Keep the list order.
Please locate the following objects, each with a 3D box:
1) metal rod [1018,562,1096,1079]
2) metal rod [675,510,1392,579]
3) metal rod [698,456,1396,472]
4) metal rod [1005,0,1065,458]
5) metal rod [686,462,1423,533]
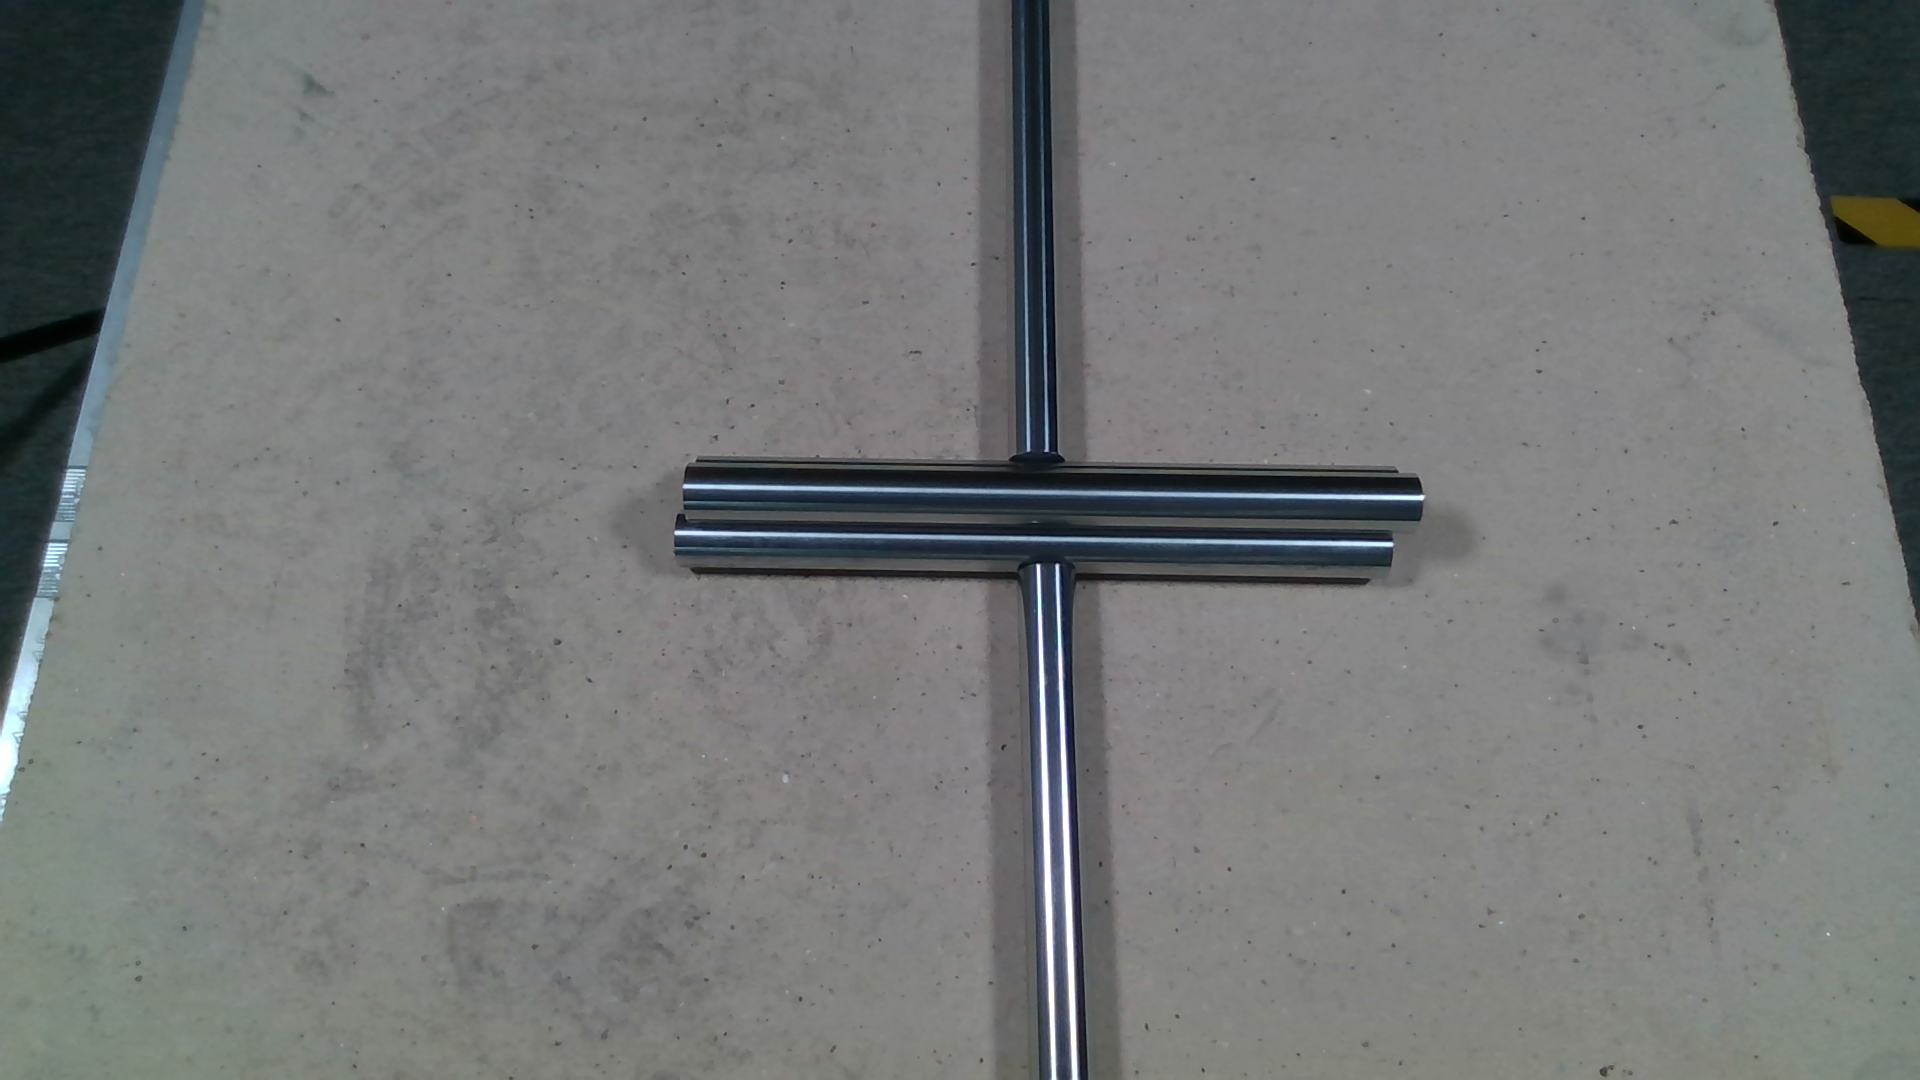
[{"bbox_3d":[0.038,0.154,0.533,0.025,0.025,0.299,-1,70,0],"label":"metal rod"},{"bbox_3d":[0.031,0.002,0.588,0.300,0.025,0.025,1,70,0],"label":"metal rod"},{"bbox_3d":[0.036,-0.022,0.597,0.300,0.025,0.025,1,70,0],"label":"metal rod"},{"bbox_3d":[0.034,-0.175,0.650,0.025,0.025,0.299,0,70,0],"label":"metal rod"},{"bbox_3d":[0.038,-0.018,0.573,0.300,0.025,0.025,1,70,0],"label":"metal rod"}]
